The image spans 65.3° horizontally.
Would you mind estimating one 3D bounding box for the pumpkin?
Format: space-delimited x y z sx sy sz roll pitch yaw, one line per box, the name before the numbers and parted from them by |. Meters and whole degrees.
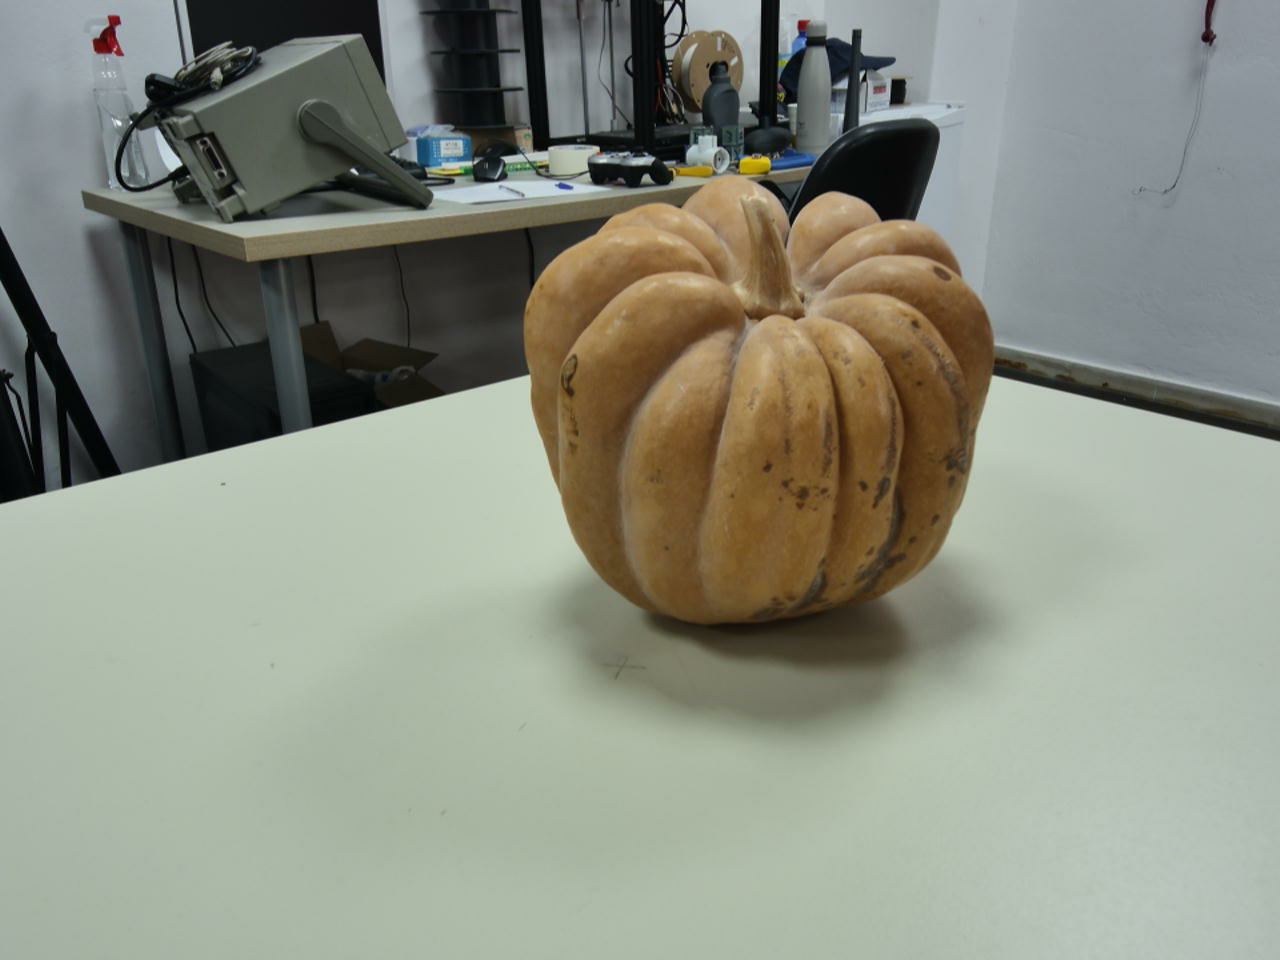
pumpkin | 0.049 -0.033 0.430 0.199 0.177 0.198 -1 22 0
